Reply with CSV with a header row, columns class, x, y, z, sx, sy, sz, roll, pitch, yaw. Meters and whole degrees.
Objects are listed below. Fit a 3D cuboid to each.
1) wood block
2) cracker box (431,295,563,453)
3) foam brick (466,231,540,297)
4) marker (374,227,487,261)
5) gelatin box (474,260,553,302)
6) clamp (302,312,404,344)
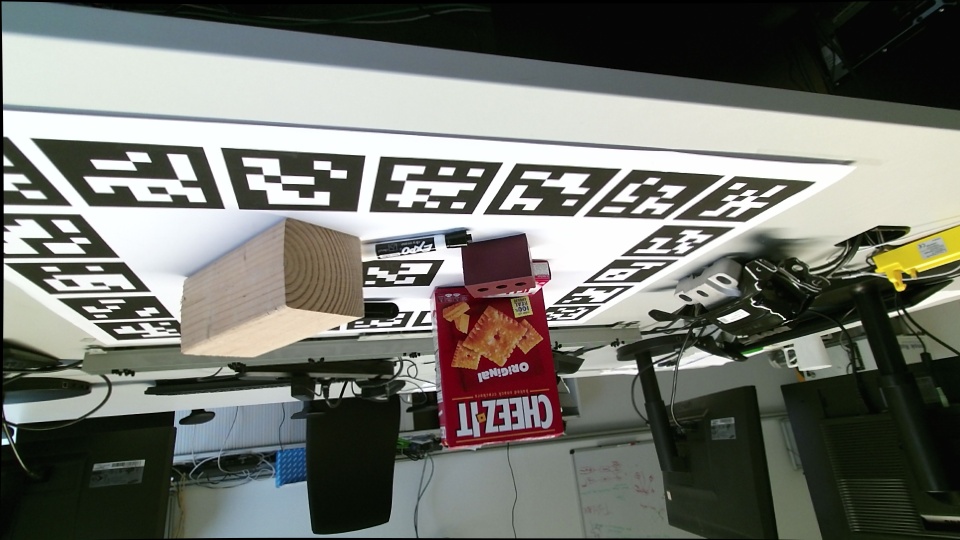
class,x,y,z,sx,sy,sz,roll,pitch,yaw
wood block,-0.221,0.031,0.576,0.206,0.090,0.090,-22,157,34
cracker box,0.017,0.146,0.762,0.165,0.212,0.072,-2,158,-13
foam brick,0.028,-0.005,0.627,0.078,0.051,0.053,-12,156,5
marker,-0.052,-0.028,0.578,0.121,0.019,0.020,-10,156,1
gelatin box,0.043,0.015,0.715,0.090,0.030,0.073,-2,155,-17
clamp,-0.227,0.070,0.727,0.203,0.036,0.166,-14,156,11
